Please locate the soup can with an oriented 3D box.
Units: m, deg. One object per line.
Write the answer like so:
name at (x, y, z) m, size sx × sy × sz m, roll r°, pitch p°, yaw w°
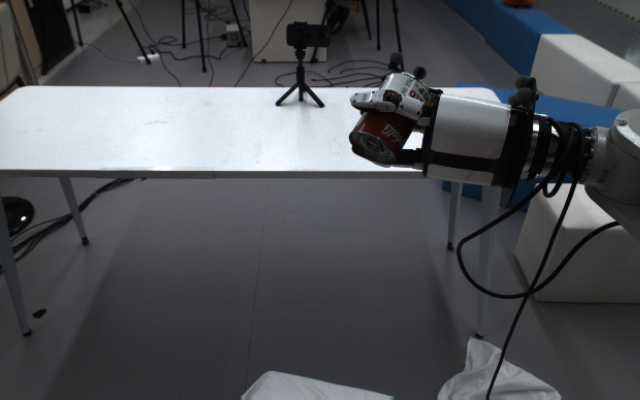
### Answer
soup can at (0.092, -0.106, 0.622) m, size 0.067 × 0.067 × 0.101 m, roll 23°, pitch 73°, yaw 28°
